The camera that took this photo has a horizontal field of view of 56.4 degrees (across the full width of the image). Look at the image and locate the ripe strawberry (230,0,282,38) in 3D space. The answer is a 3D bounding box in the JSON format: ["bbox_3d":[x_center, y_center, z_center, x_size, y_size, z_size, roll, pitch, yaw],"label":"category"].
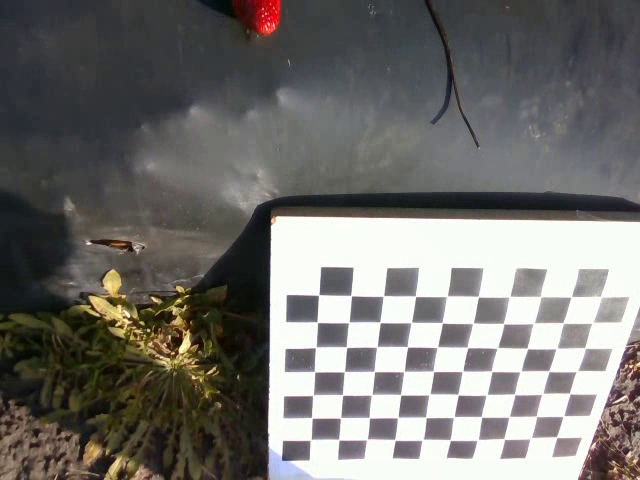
[{"bbox_3d":[-0.031,-0.115,0.297,0.028,0.041,0.031,-22,-31,7],"label":"ripe strawberry"}]
